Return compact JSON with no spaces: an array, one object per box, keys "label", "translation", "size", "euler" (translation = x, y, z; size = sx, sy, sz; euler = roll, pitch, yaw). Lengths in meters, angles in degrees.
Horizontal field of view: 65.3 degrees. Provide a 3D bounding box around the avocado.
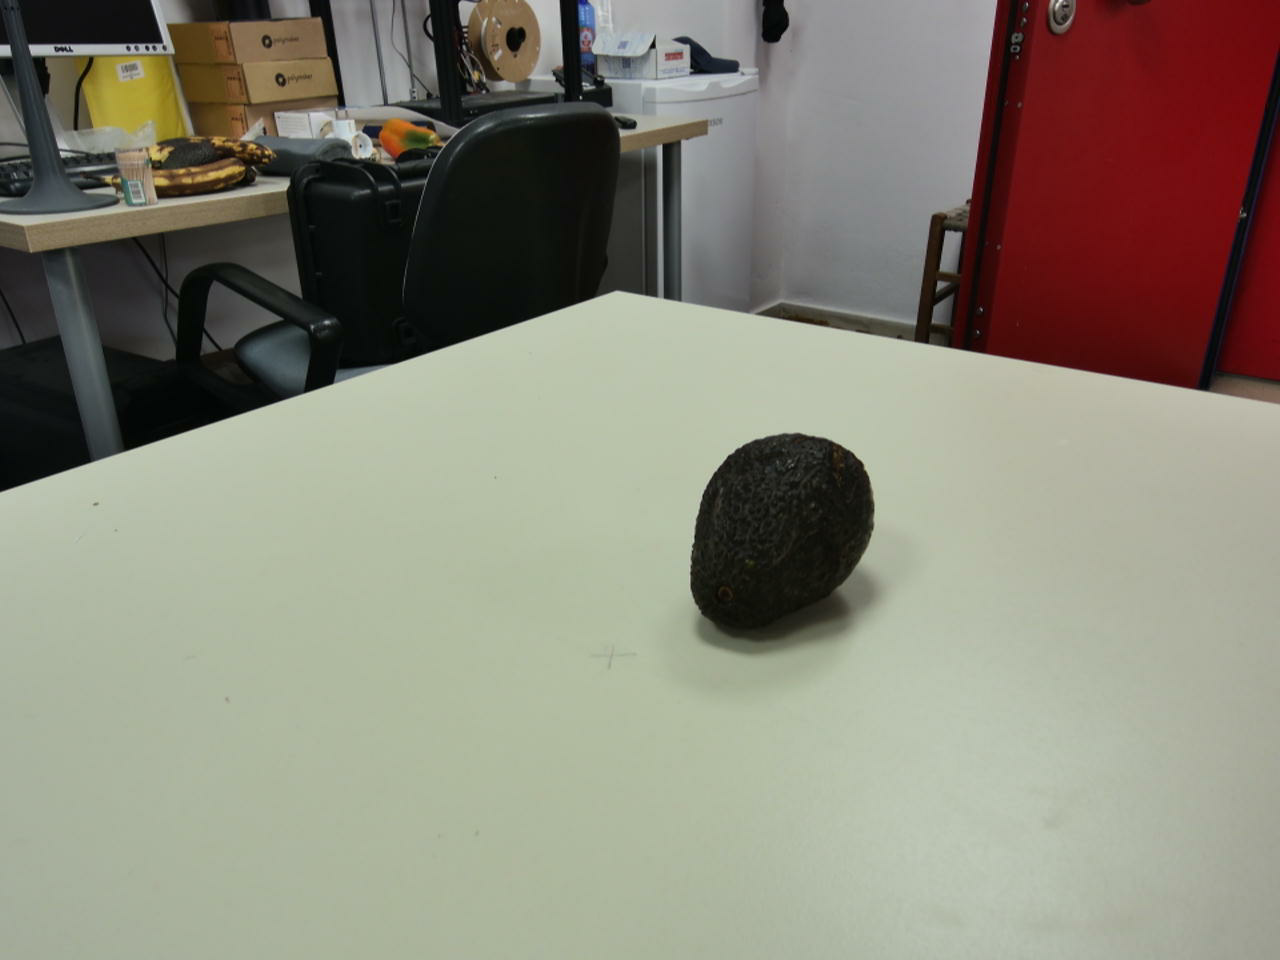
[{"label":"avocado","translation":[0.056,0.017,0.416],"size":[0.090,0.069,0.070],"euler":[-10,25,-24]}]
